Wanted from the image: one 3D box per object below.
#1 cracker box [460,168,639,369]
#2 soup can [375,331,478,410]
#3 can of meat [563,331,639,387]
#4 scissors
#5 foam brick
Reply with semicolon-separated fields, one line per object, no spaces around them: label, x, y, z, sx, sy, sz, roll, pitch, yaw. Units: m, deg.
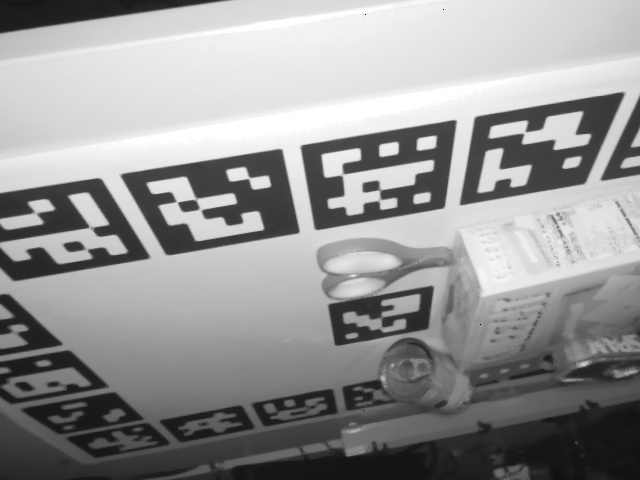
cracker box;0.229;0.024;0.575;0.214;0.072;0.163;-15;143;-1
soup can;0.115;0.142;0.741;0.067;0.068;0.103;-33;142;27
can of meat;0.289;0.095;0.693;0.103;0.084;0.057;1;141;-13
scissors;0.108;-0.005;0.560;0.203;0.016;0.087;-11;142;1
foam brick;0.195;0.113;0.725;0.078;0.051;0.052;-15;142;6
